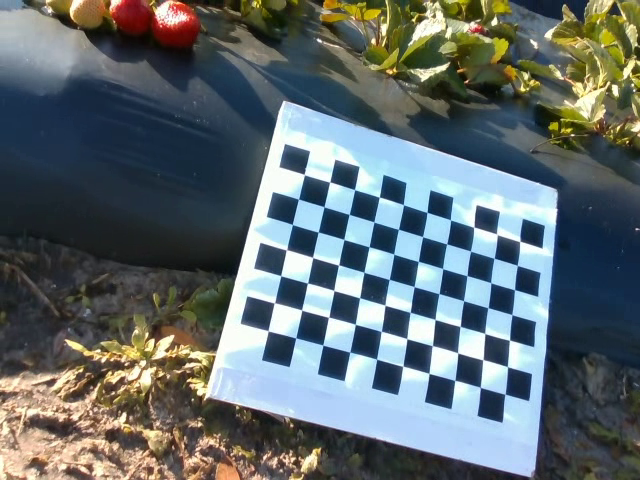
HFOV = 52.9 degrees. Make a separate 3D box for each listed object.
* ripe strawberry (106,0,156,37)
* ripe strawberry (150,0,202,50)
[{"bbox_3d":[-0.189,-0.222,0.625,0.050,0.044,0.061,39,24,-4],"label":"ripe strawberry"},{"bbox_3d":[-0.137,-0.211,0.629,0.056,0.052,0.067,-35,32,-21],"label":"ripe strawberry"}]
